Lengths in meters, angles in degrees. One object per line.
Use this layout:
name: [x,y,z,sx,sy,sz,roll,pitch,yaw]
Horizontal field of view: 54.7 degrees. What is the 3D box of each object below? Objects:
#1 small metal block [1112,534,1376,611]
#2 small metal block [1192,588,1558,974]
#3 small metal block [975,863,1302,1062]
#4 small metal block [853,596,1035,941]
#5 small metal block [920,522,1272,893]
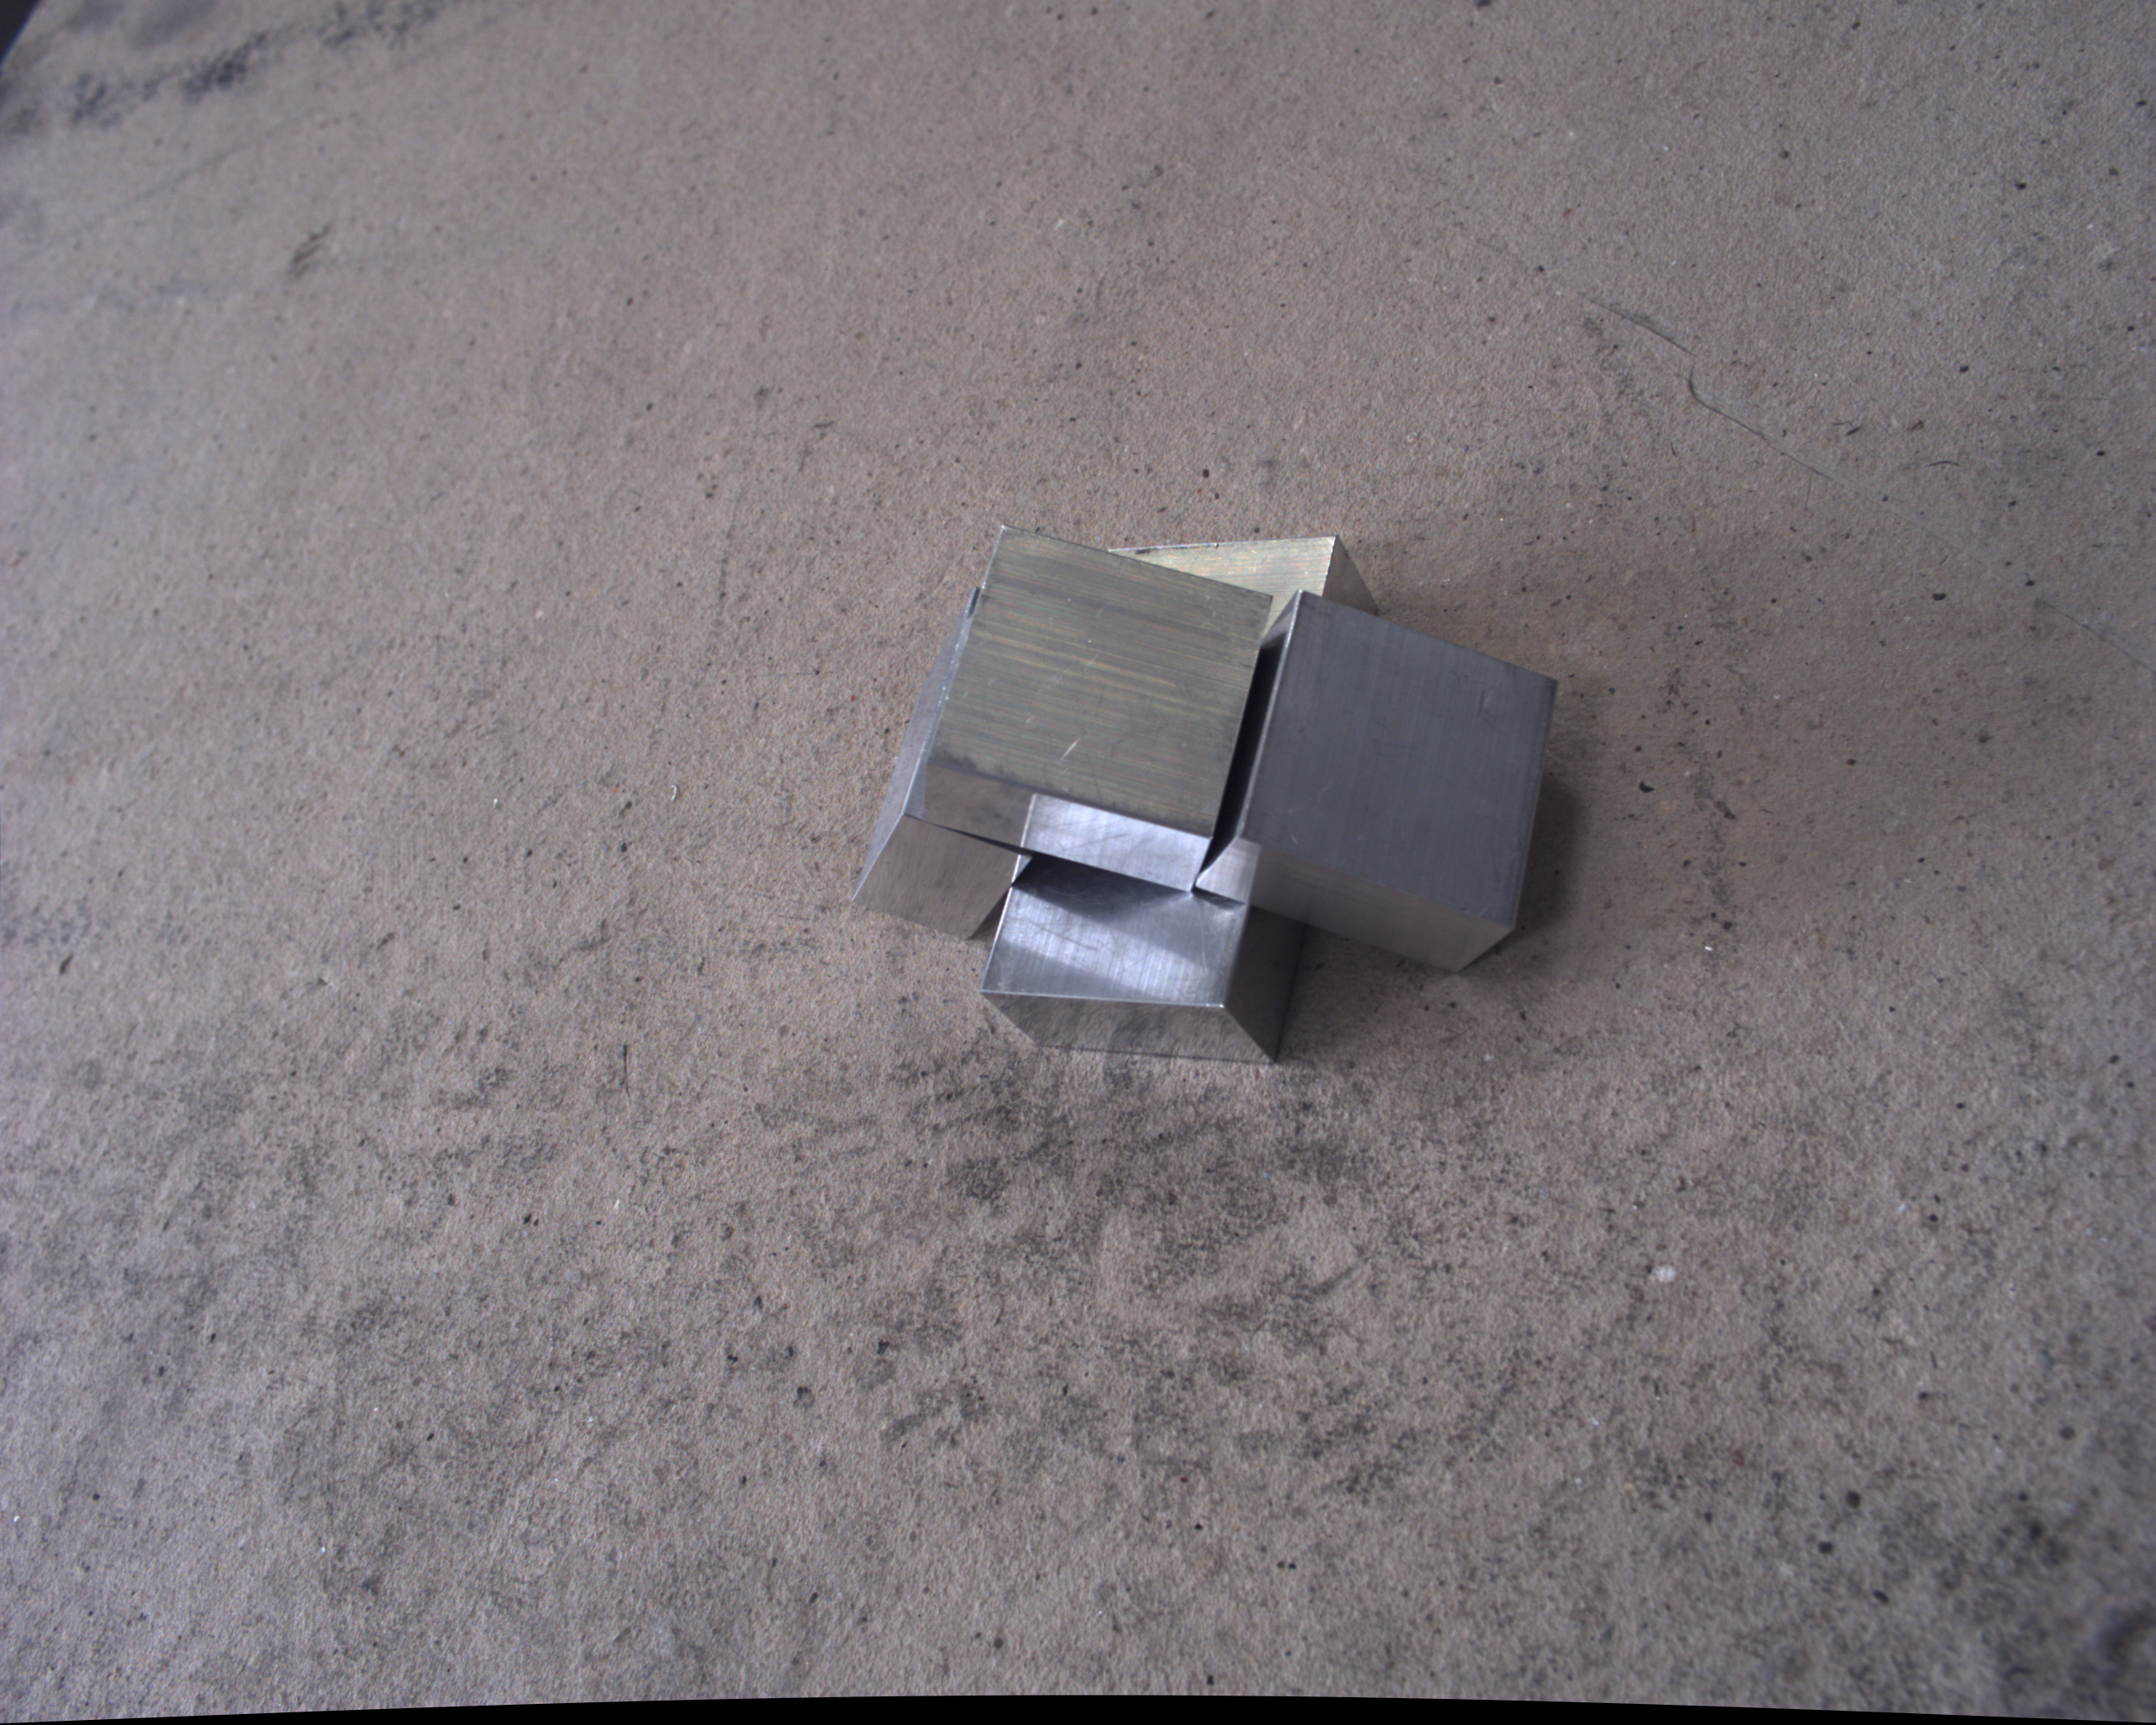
small metal block: [0.027,-0.036,0.413,0.050,0.025,0.050,1,62,28]
small metal block: [0.053,-0.014,0.370,0.050,0.025,0.050,19,66,-7]
small metal block: [0.014,0.008,0.392,0.050,0.025,0.050,1,62,28]
small metal block: [-0.021,-0.018,0.410,0.025,0.050,0.050,19,66,-9]
small metal block: [0.003,-0.028,0.374,0.050,0.025,0.050,15,66,1]
